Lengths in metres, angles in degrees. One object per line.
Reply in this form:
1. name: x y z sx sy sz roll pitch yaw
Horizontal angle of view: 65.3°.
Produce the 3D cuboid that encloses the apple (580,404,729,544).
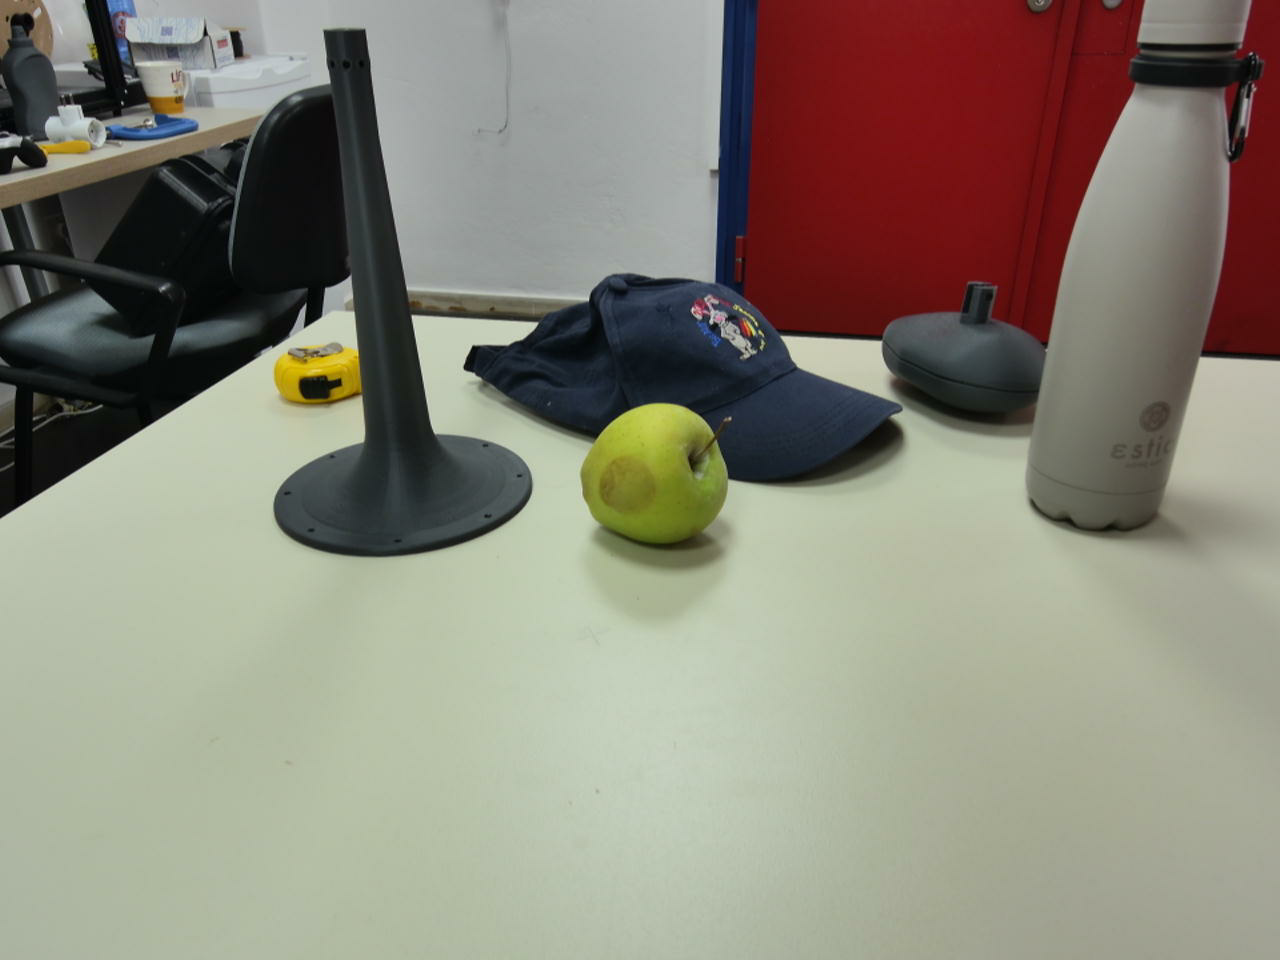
1. apple: 0.009 -0.005 0.538 0.072 0.075 0.077 -16 30 -30
